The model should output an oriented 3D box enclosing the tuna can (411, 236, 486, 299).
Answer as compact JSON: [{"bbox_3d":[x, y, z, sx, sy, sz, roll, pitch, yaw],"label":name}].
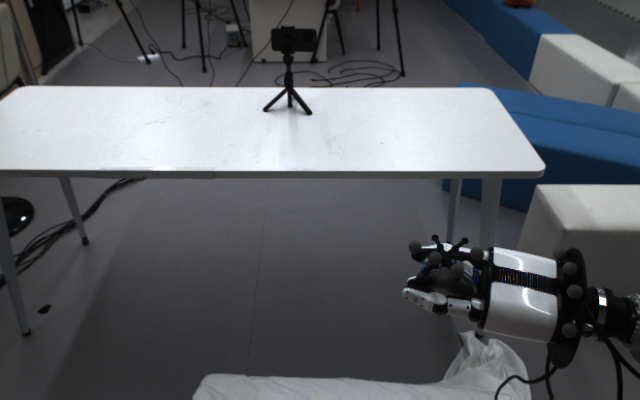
[{"bbox_3d":[0.177,0.111,0.667,0.085,0.085,0.034,14,41,16],"label":"tuna can"}]
